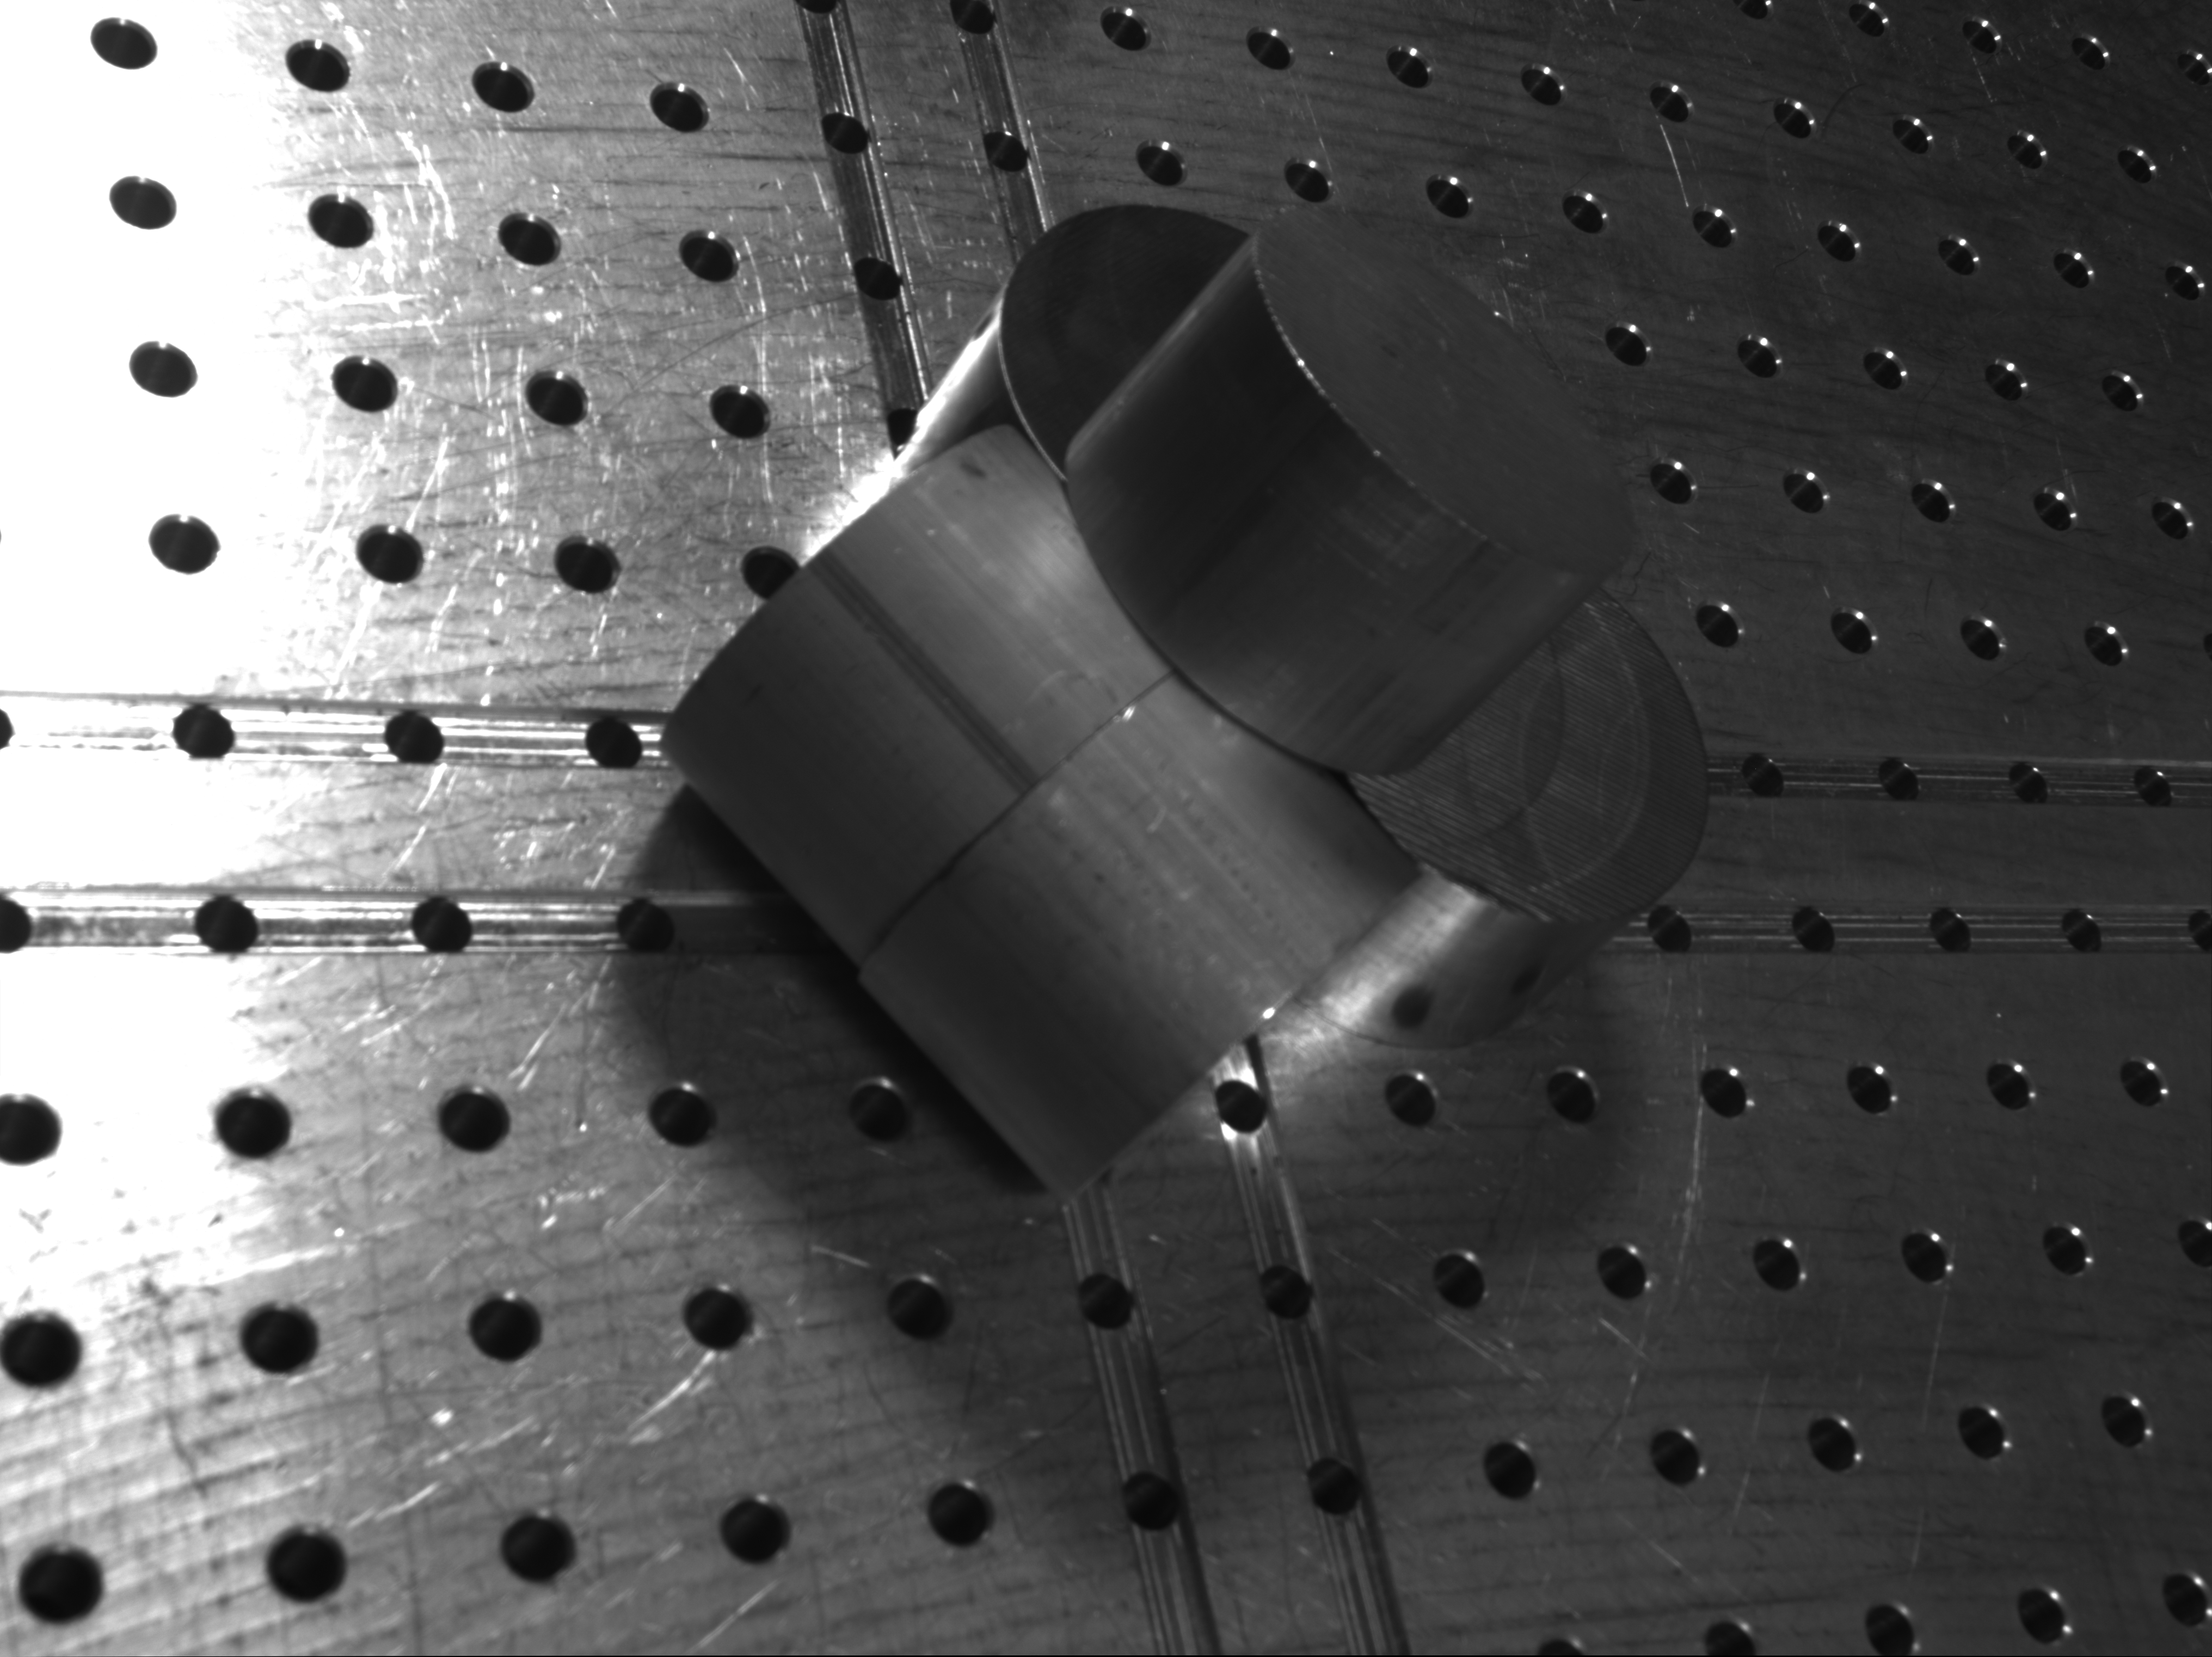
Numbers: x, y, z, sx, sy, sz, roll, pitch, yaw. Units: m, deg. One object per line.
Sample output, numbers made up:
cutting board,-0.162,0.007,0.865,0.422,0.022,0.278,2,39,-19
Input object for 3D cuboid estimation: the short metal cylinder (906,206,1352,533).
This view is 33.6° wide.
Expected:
short metal cylinder,0.010,-0.066,0.671,0.080,0.050,0.080,14,56,-21

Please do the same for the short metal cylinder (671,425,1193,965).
short metal cylinder,-0.025,-0.021,0.607,0.050,0.080,0.080,47,51,5

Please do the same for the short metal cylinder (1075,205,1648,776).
short metal cylinder,0.042,-0.055,0.600,0.080,0.050,0.080,31,33,-22

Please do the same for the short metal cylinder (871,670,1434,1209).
short metal cylinder,0.008,0.017,0.601,0.050,0.080,0.080,47,51,5

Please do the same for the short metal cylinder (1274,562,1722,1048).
short metal cylinder,0.064,-0.007,0.664,0.080,0.050,0.080,14,56,-21
